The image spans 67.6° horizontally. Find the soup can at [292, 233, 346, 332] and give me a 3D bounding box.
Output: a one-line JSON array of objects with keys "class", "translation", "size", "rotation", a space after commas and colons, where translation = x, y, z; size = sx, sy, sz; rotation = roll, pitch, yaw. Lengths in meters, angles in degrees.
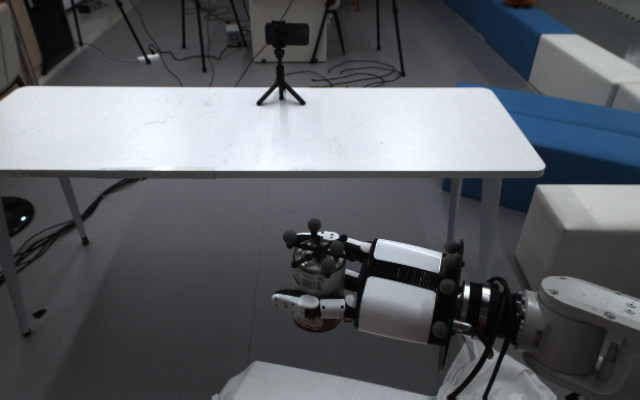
[{"class": "soup can", "translation": [0.000, 0.110, 0.616], "size": [0.067, 0.101, 0.067], "rotation": [2, 32, -1]}]
